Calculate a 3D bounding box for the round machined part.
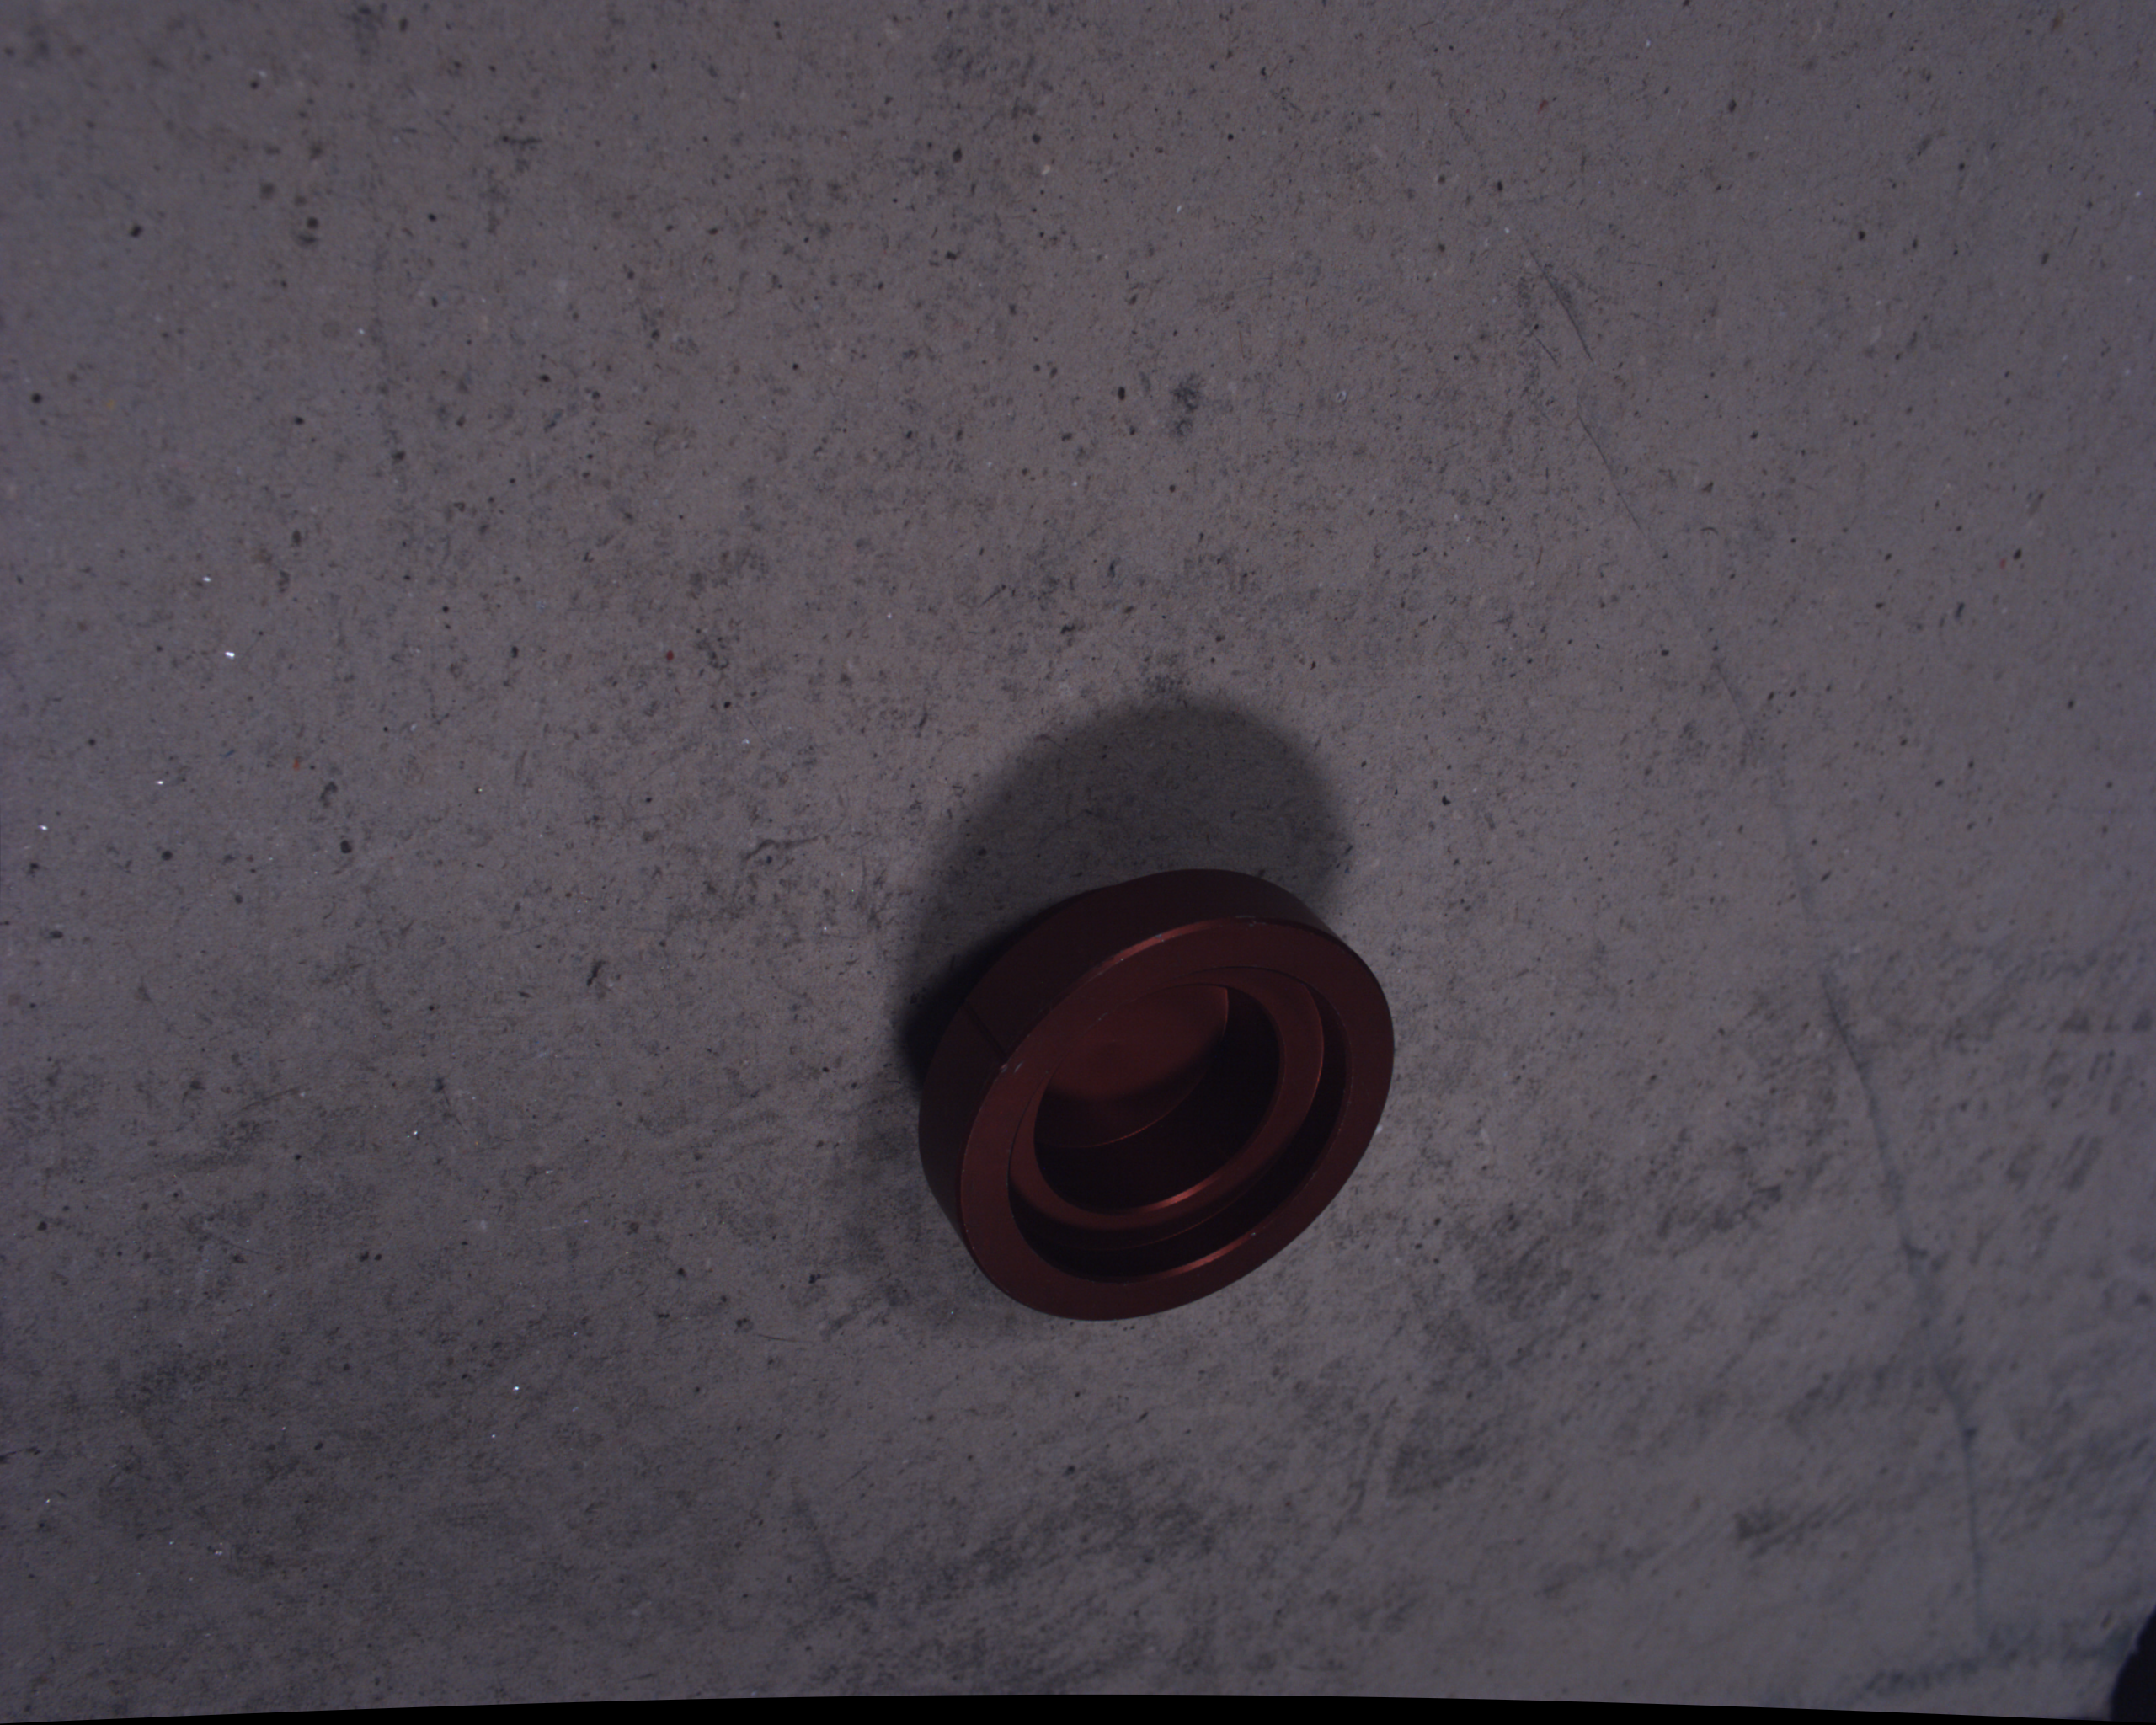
[{"bbox_3d":[0.012,0.043,0.432,0.099,0.042,0.097,-14,125,-21],"label":"round machined part"}]
